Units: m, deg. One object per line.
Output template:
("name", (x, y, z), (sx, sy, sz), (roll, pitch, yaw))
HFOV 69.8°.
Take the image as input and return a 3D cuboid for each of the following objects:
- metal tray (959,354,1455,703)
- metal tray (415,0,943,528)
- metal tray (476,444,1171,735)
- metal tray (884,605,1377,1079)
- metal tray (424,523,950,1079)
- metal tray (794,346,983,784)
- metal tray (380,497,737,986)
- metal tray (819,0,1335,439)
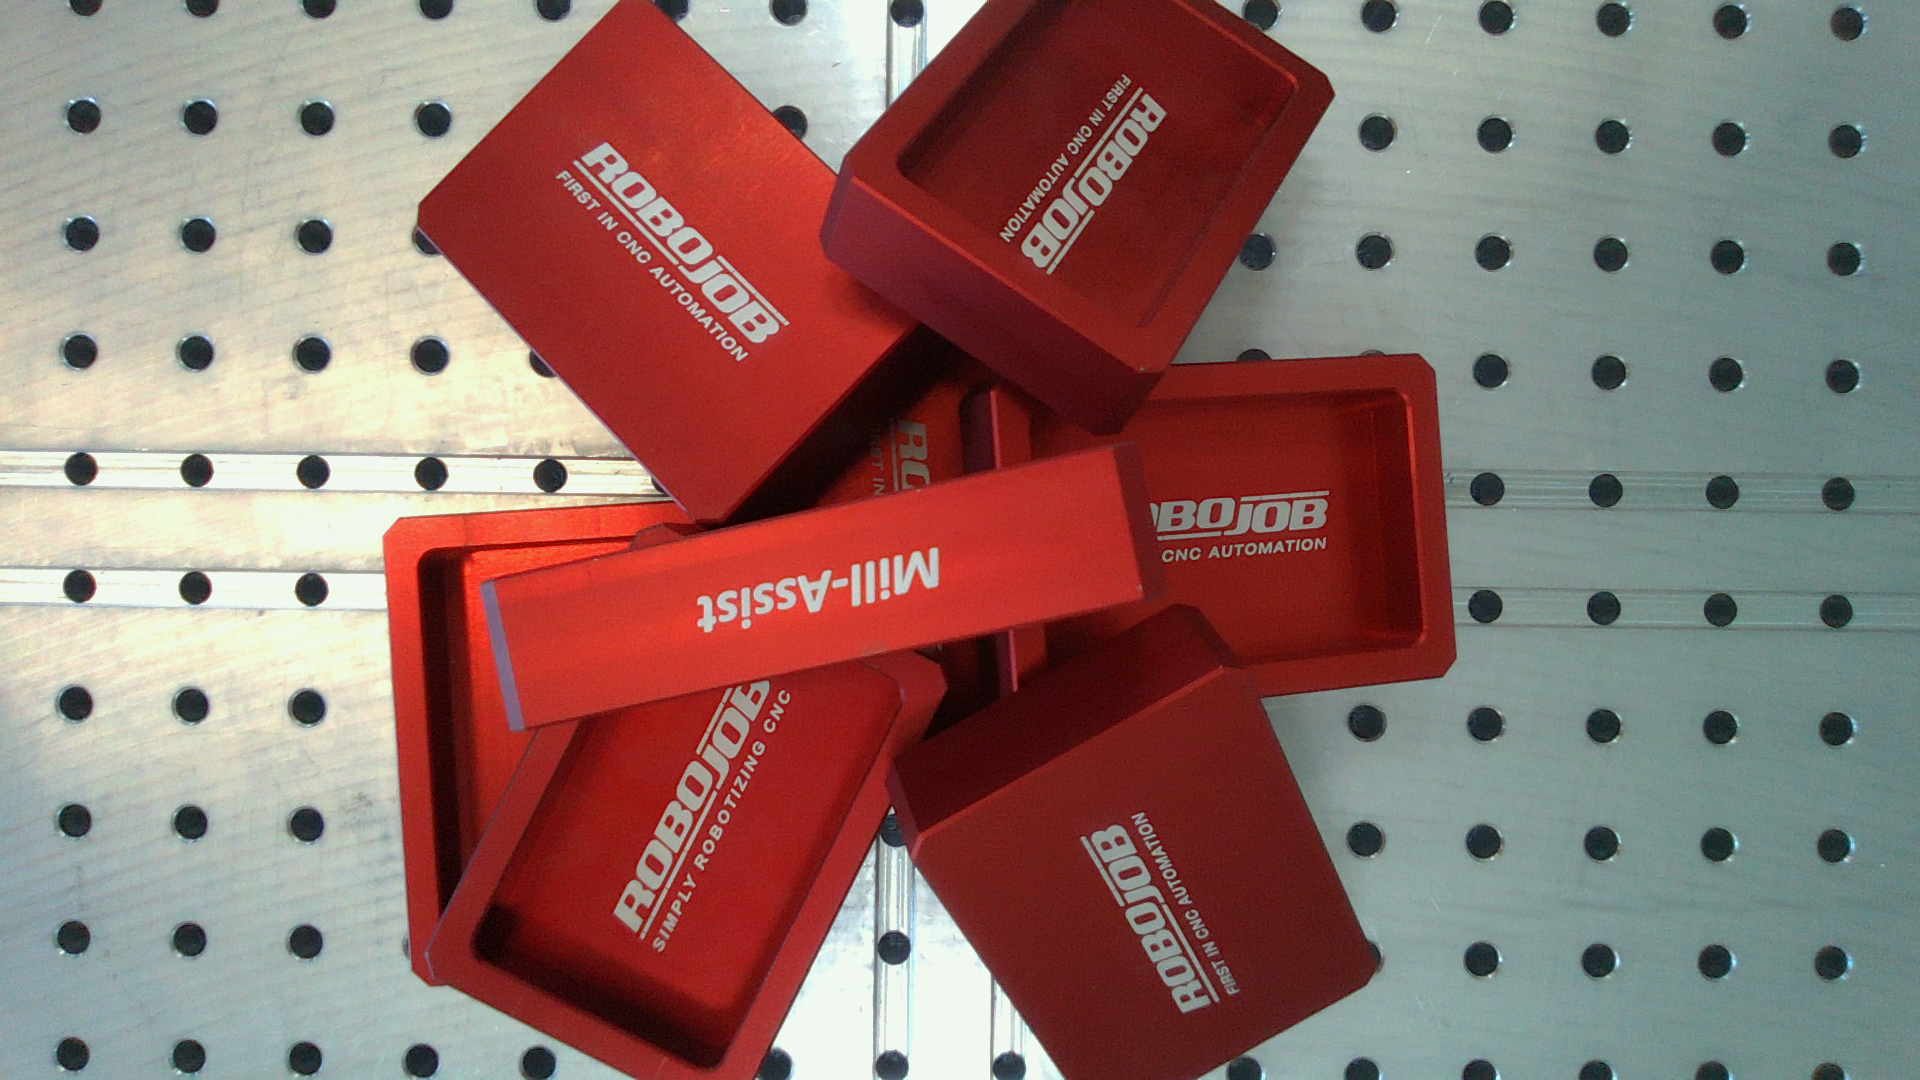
("metal tray", (0.069, -0.002, 0.377), (0.130, 0.030, 0.090), (-5, 90, -17))
("metal tray", (-0.075, -0.075, 0.378), (0.090, 0.030, 0.130), (-45, 75, 0))
("metal tray", (-0.024, 0.009, 0.300), (0.130, 0.090, 0.030), (-12, 90, 4))
("metal tray", (0.049, 0.090, 0.362), (0.090, 0.030, 0.130), (-29, 123, 0))
("metal tray", (-0.070, 0.072, 0.364), (0.090, 0.030, 0.130), (27, 90, 0))
("metal tray", (-0.016, 0.003, 0.395), (0.090, 0.030, 0.130), (-5, 88, -2))
("metal tray", (-0.111, 0.056, 0.395), (0.090, 0.030, 0.130), (-4, 89, -1))
("metal tray", (0.034, -0.099, 0.361), (0.090, 0.030, 0.130), (33, 57, 0))
